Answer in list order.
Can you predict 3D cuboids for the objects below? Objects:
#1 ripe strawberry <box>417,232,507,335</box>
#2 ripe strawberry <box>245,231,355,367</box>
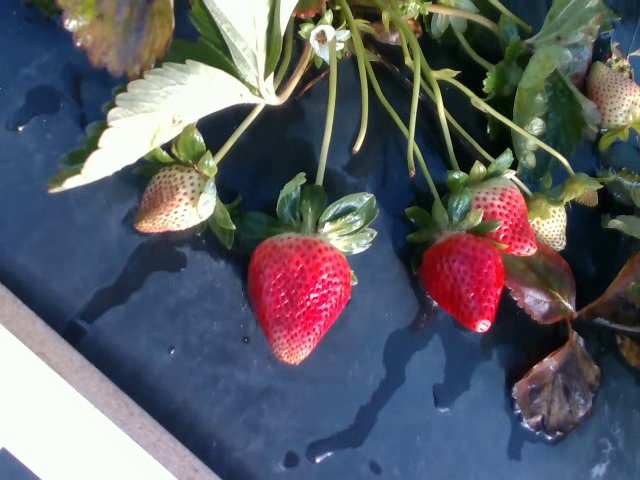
[{"bbox_3d":[0.068,0.023,0.285,0.044,0.055,0.042,-17,-40,9],"label":"ripe strawberry"},{"bbox_3d":[-0.011,0.025,0.250,0.050,0.065,0.050,6,-42,5],"label":"ripe strawberry"}]
